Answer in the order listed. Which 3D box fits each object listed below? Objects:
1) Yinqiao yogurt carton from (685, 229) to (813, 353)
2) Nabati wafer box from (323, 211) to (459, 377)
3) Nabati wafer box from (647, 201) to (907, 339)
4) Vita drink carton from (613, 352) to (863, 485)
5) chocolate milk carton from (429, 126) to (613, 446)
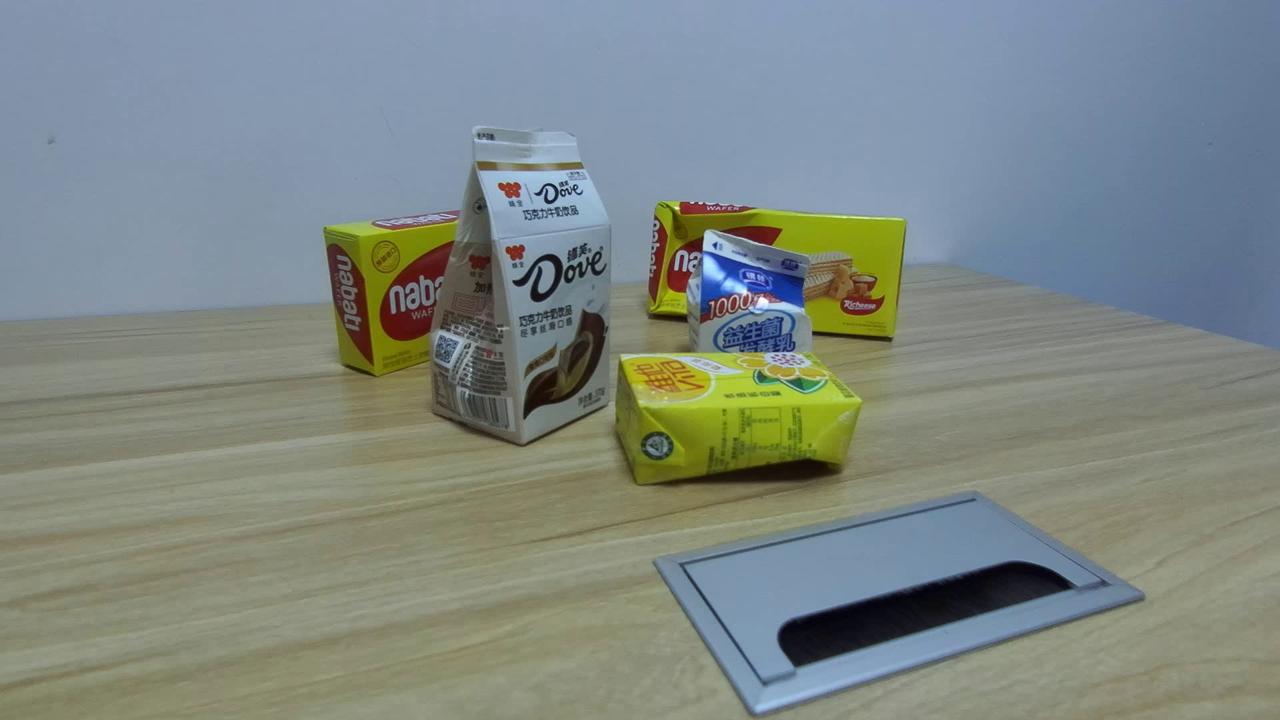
[{"bbox_3d":[0.073,-0.038,0.464,0.083,0.093,0.077,2,21,4],"label":"Yinqiao yogurt carton"},{"bbox_3d":[-0.126,-0.059,0.524,0.042,0.093,0.204,14,22,34],"label":"Nabati wafer box"},{"bbox_3d":[0.107,-0.074,0.578,0.203,0.096,0.042,7,9,12],"label":"Nabati wafer box"},{"bbox_3d":[0.046,0.028,0.353,0.109,0.043,0.076,0,22,-12],"label":"Vita drink carton"},{"bbox_3d":[-0.067,-0.044,0.383,0.072,0.155,0.084,15,23,33],"label":"chocolate milk carton"}]
